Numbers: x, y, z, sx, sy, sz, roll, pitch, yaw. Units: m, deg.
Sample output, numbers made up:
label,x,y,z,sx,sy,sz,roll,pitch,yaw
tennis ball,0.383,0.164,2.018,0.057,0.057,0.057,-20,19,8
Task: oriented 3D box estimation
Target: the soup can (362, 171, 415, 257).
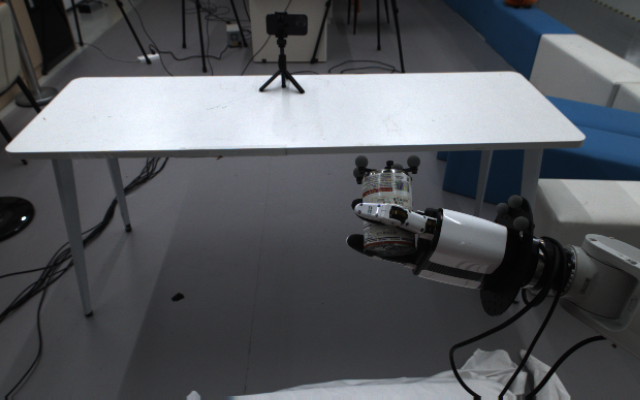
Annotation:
label,x,y,z,sx,sy,sz,roll,pitch,yaw
soup can,0.091,0.018,0.636,0.067,0.067,0.101,1,73,-2
